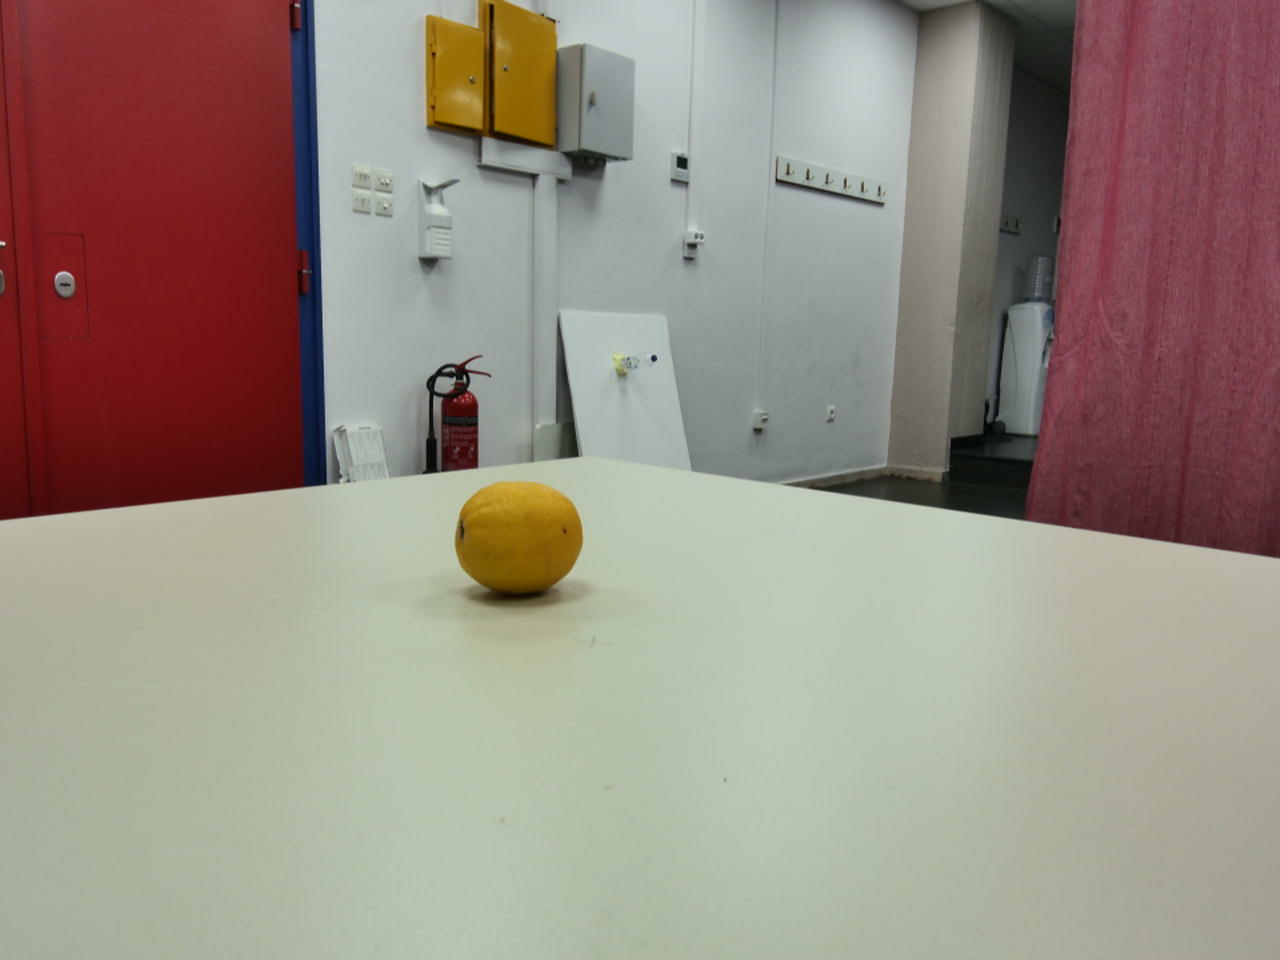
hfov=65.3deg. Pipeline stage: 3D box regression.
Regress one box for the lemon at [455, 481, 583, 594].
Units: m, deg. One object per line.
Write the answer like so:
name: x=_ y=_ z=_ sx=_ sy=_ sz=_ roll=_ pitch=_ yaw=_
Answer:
lemon: x=-0.064 y=0.031 z=0.529 sx=0.067 sy=0.059 sz=0.061 roll=0 pitch=7 yaw=-6
